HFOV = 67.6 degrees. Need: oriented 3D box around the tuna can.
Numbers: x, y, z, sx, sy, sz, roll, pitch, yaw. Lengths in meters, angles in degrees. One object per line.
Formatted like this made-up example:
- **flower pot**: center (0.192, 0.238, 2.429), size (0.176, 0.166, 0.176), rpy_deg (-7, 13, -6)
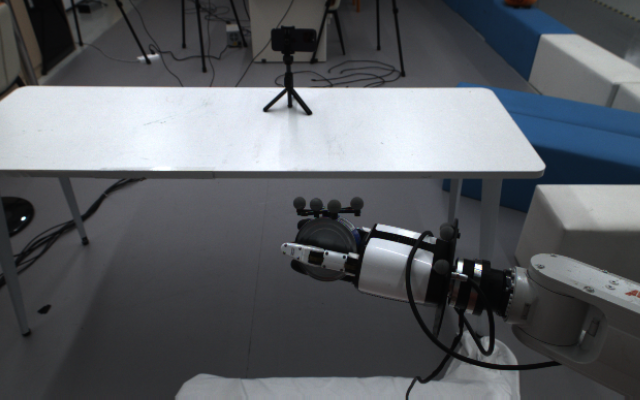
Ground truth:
- **tuna can**: center (0.013, 0.062, 0.642), size (0.085, 0.085, 0.034), rpy_deg (15, 10, 18)
